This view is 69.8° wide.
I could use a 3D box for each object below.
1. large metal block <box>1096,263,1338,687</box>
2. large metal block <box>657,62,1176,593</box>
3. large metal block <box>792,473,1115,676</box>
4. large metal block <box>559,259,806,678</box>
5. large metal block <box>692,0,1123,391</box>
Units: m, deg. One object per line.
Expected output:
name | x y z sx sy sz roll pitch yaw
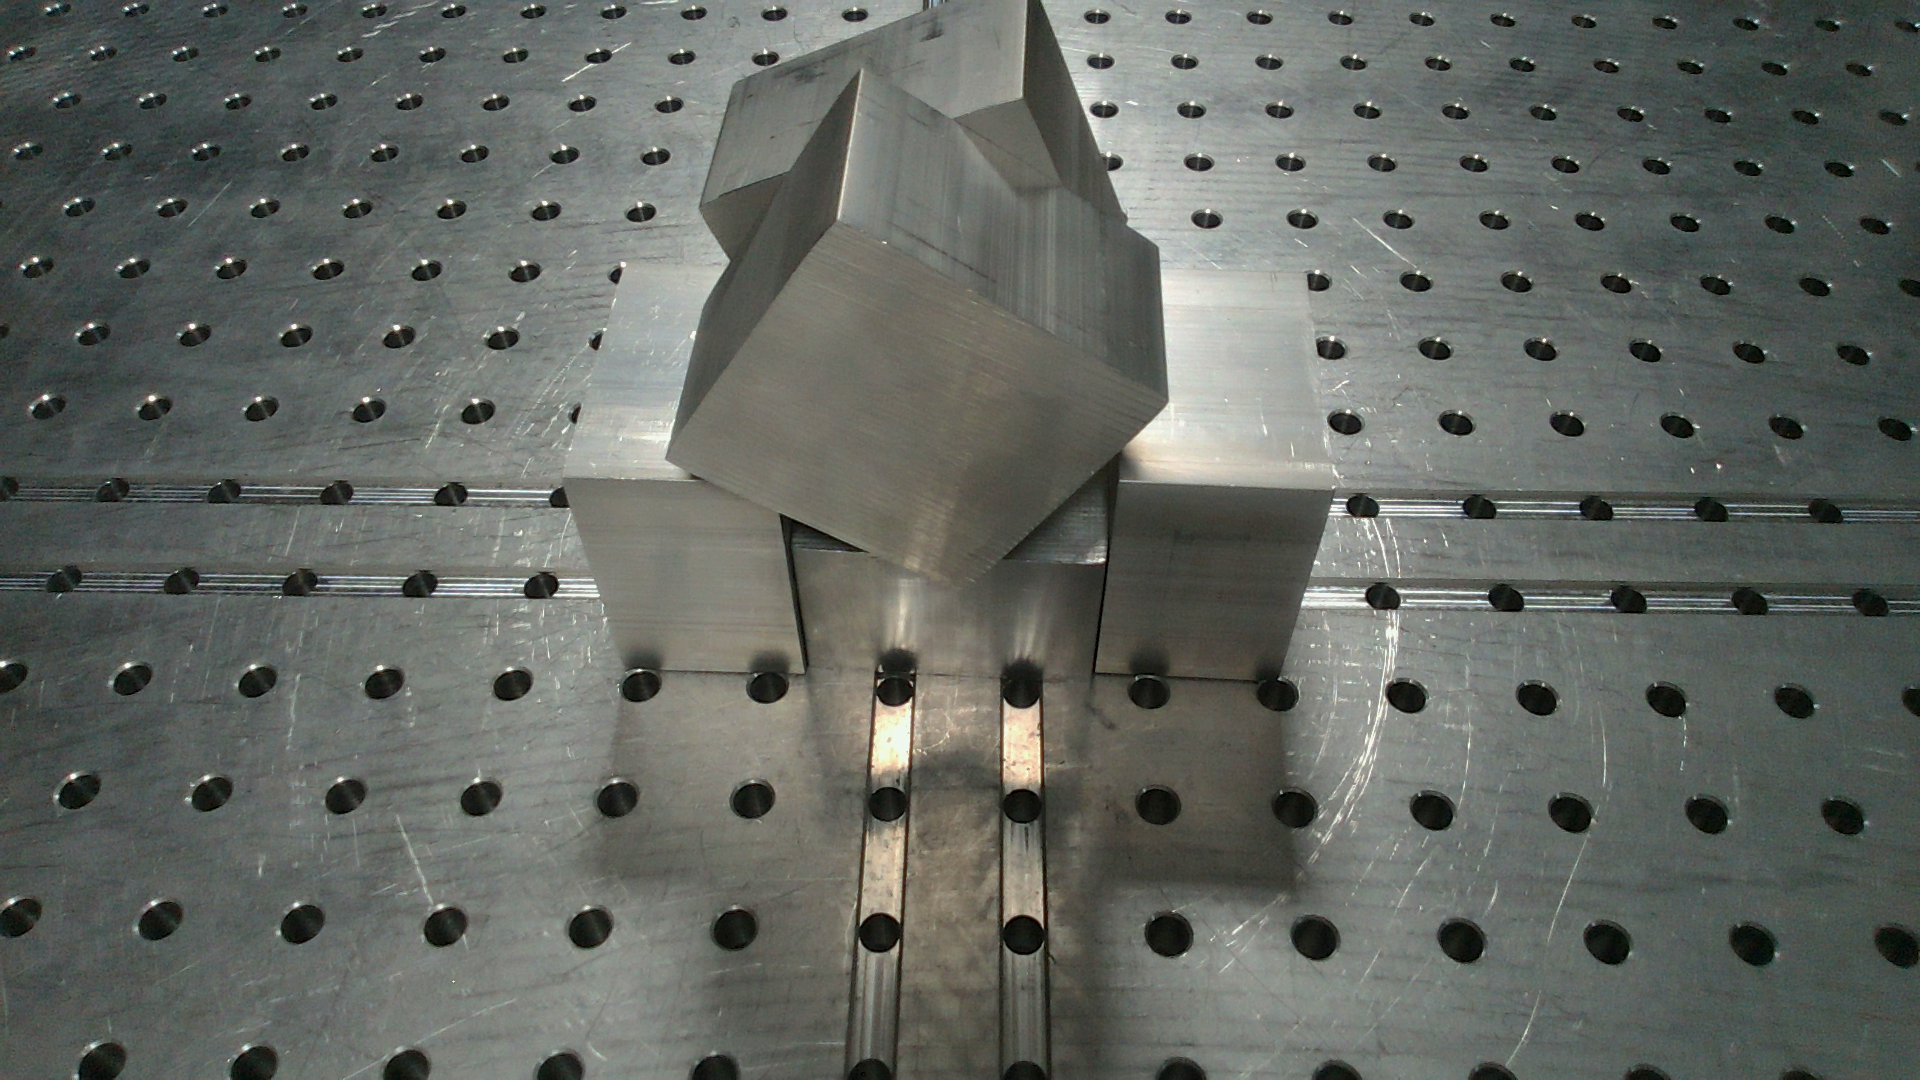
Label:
large metal block | 0.065 -0.017 0.373 0.050 0.080 0.080 3 50 3
large metal block | -0.010 -0.043 0.307 0.080 0.080 0.050 25 45 -23
large metal block | 0.000 -0.011 0.385 0.080 0.050 0.080 2 50 2
large metal block | -0.066 -0.019 0.375 0.050 0.080 0.080 1 50 1
large metal block | -0.007 -0.079 0.342 0.080 0.080 0.050 -13 47 19
